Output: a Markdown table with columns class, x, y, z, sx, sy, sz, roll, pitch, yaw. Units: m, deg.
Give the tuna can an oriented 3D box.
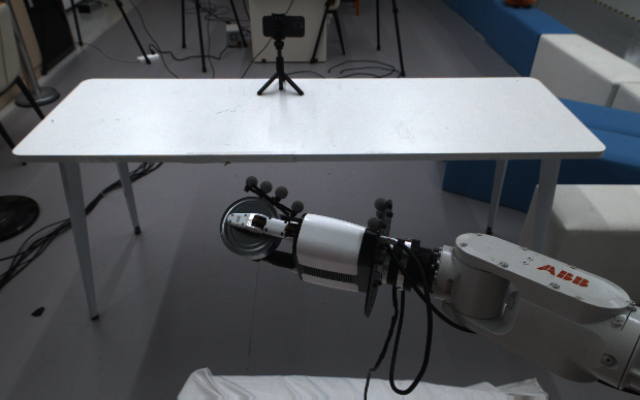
| class | x | y | z | sx | sy | sz | roll | pitch | yaw |
| --- | --- | --- | --- | --- | --- | --- | --- | --- | --- |
| tuna can | -0.094 | 0.041 | 0.683 | 0.085 | 0.034 | 0.085 | -2 | 71 | 6 |
